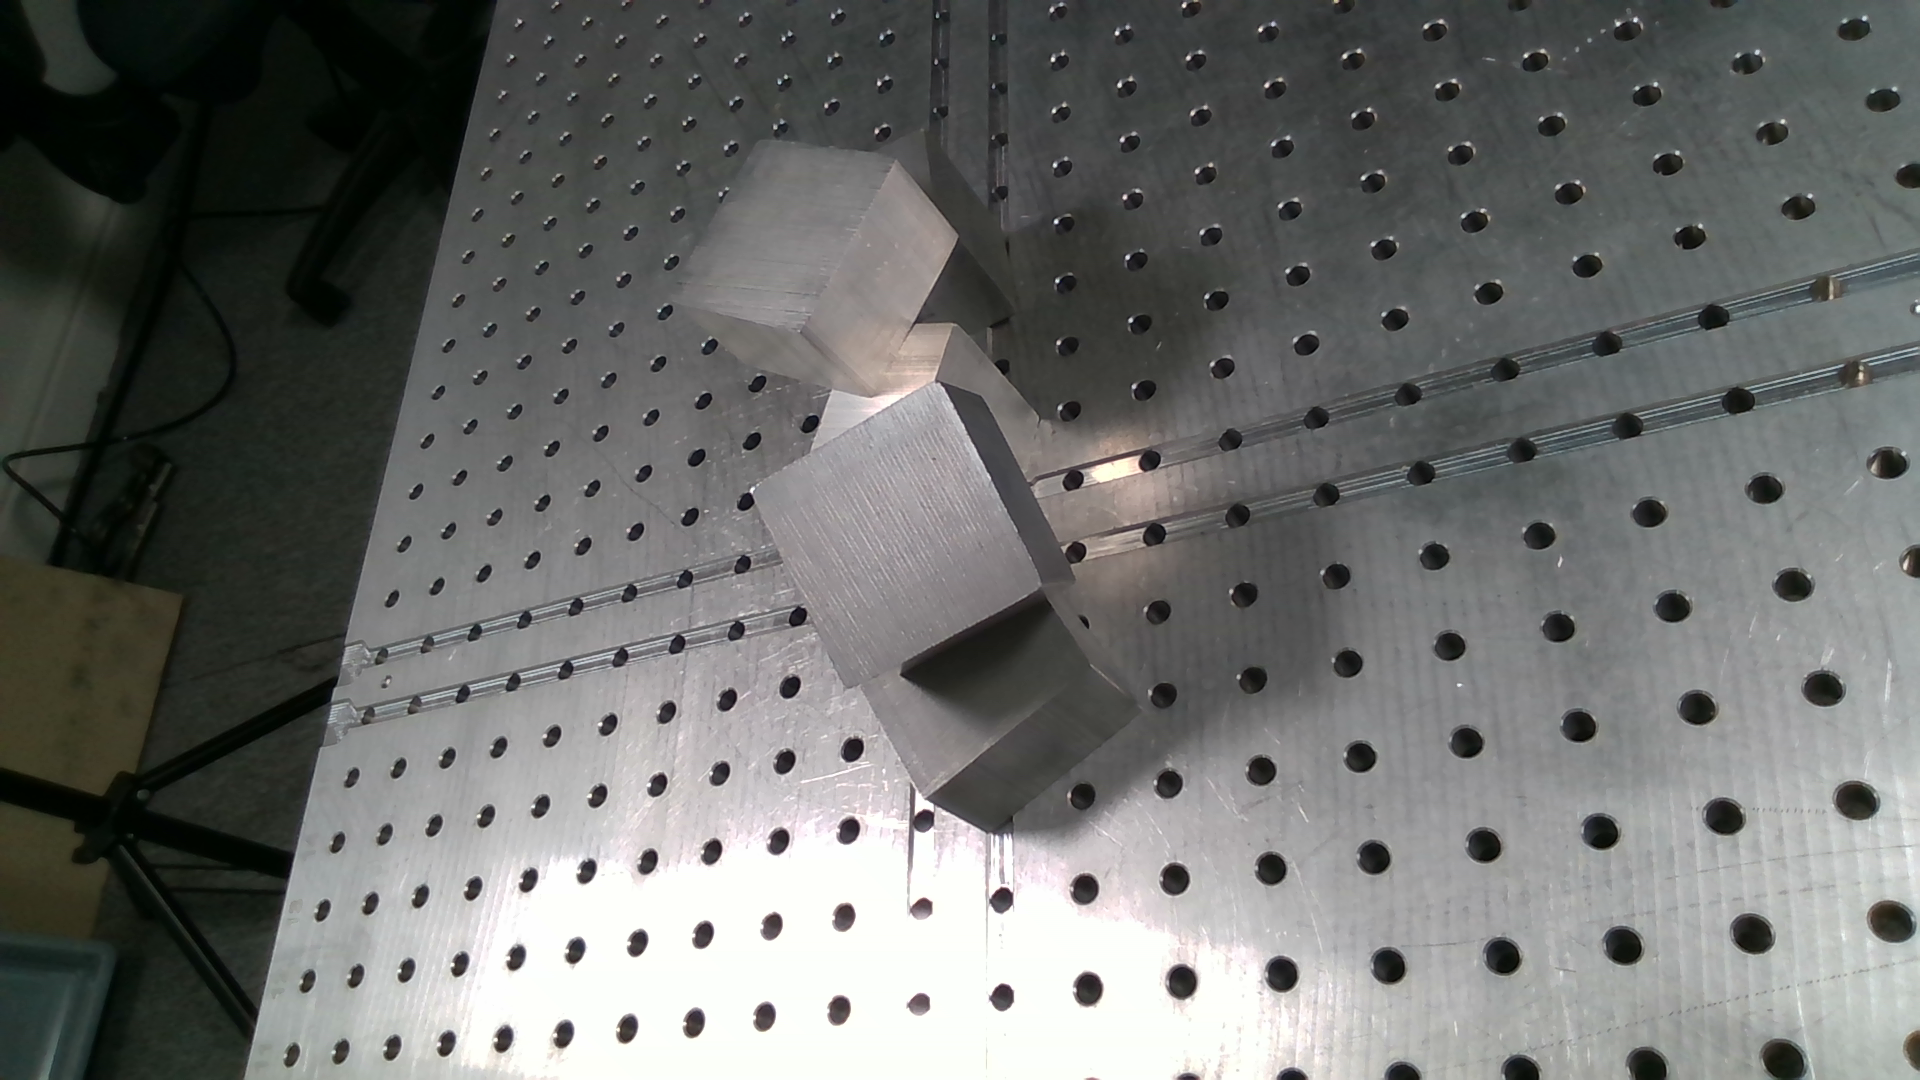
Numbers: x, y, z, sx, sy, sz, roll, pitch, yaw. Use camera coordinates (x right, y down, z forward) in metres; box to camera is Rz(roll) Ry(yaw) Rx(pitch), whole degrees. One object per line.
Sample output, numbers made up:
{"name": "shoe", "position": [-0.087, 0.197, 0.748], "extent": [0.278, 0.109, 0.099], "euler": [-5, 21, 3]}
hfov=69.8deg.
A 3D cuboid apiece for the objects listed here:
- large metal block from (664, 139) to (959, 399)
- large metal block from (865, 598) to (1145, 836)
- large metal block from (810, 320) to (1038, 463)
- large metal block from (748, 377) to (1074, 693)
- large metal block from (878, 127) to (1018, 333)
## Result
{"name": "large metal block", "position": [-0.061, -0.112, 0.565], "extent": [0.080, 0.050, 0.080], "euler": [19, 76, 37]}
{"name": "large metal block", "position": [0.011, 0.054, 0.537], "extent": [0.080, 0.050, 0.080], "euler": [-40, 51, 7]}
{"name": "large metal block", "position": [-0.016, -0.036, 0.581], "extent": [0.050, 0.080, 0.080], "euler": [5, 68, 33]}
{"name": "large metal block", "position": [-0.016, -0.001, 0.494], "extent": [0.080, 0.050, 0.080], "euler": [-29, 83, 16]}
{"name": "large metal block", "position": [-0.029, -0.131, 0.640], "extent": [0.080, 0.080, 0.050], "euler": [-20, 56, 22]}
